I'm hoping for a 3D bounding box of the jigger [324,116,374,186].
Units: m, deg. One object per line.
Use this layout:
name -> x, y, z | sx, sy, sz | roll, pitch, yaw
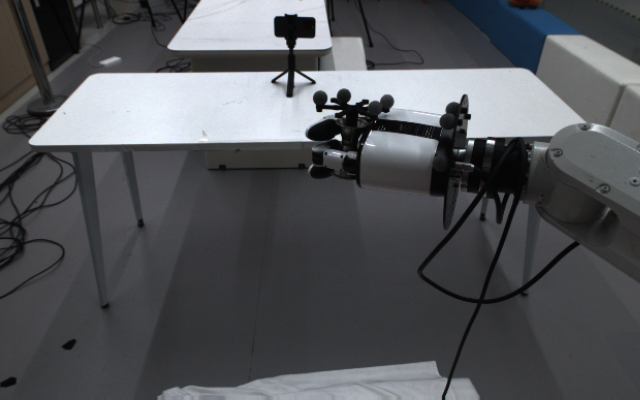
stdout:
jigger -> 0.041, -0.066, 0.611 | 0.043, 0.071, 0.043 | 3, 25, -1
